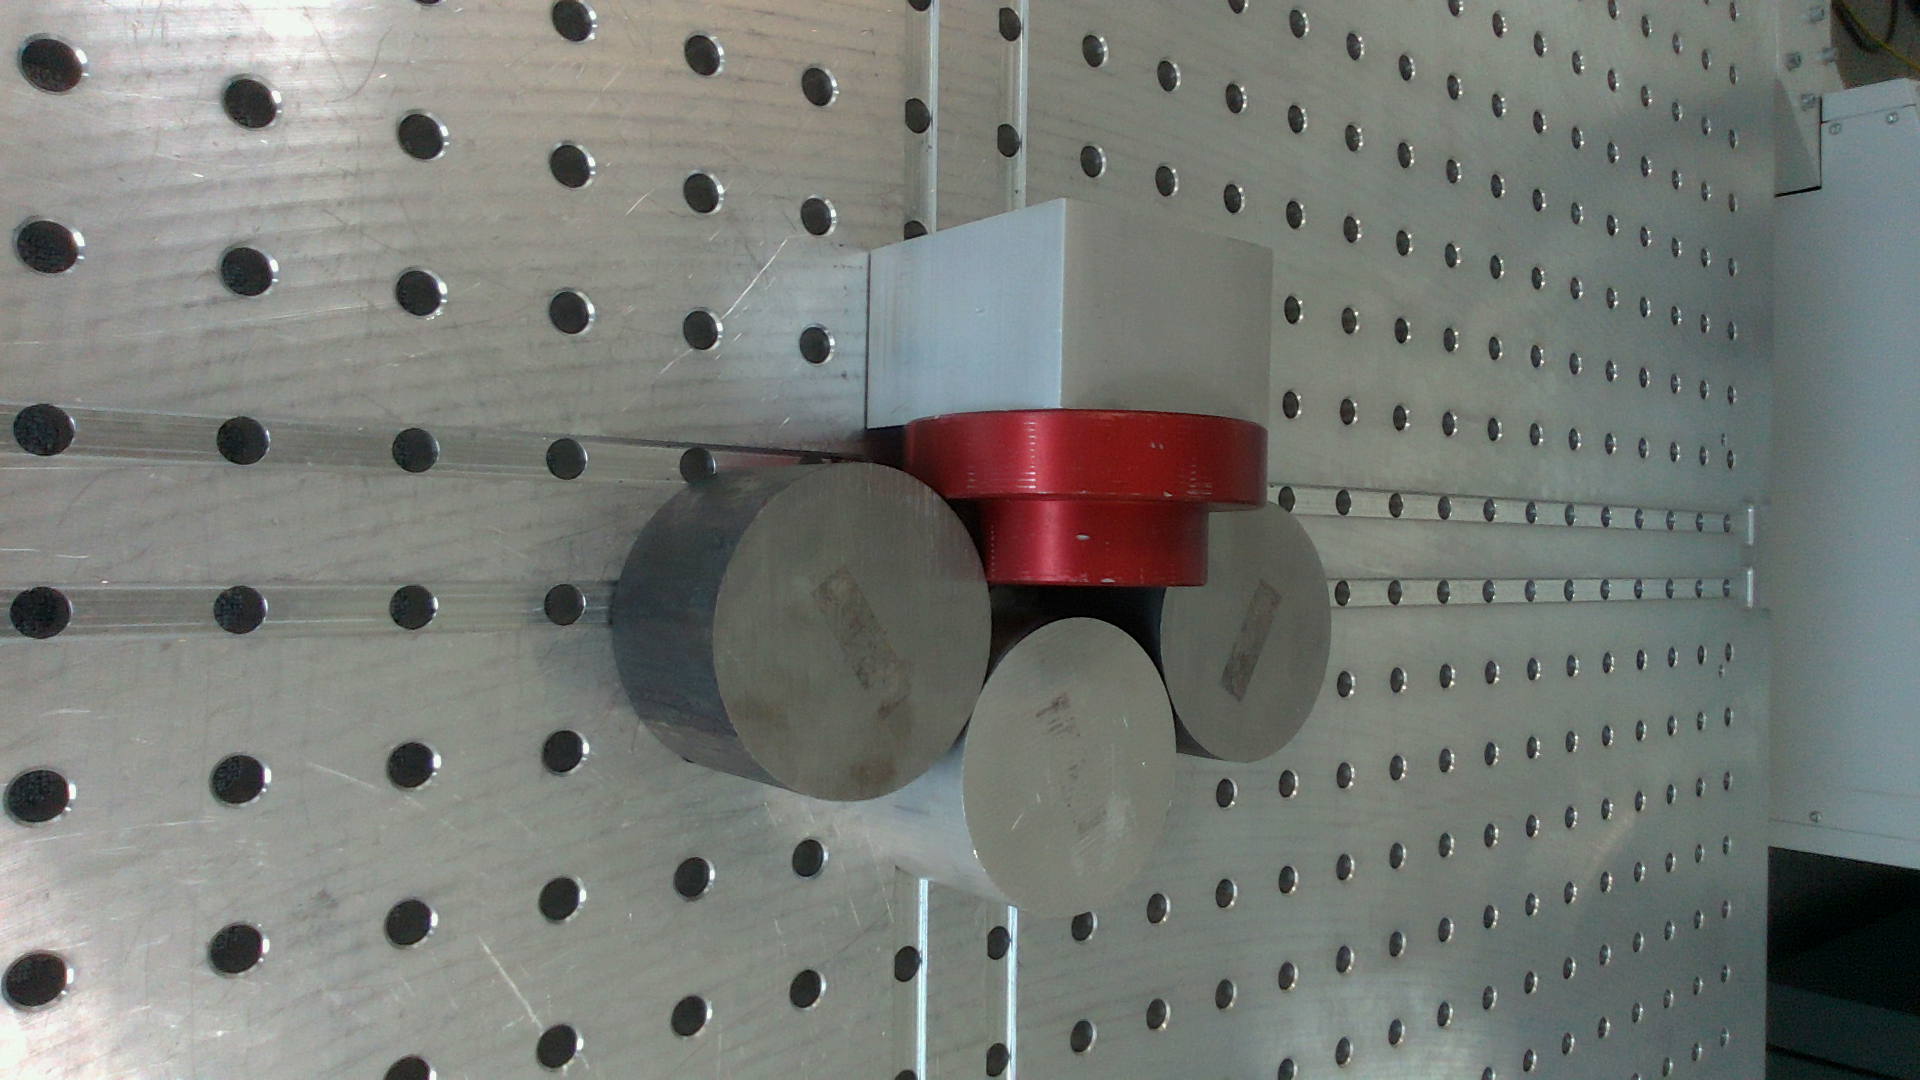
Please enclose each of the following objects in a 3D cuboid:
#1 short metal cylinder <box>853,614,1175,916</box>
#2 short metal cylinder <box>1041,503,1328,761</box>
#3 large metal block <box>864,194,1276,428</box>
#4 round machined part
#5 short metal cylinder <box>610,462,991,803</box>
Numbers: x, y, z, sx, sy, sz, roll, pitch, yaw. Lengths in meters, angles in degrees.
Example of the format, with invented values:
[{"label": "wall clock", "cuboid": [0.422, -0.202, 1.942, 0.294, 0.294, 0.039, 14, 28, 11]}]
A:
[{"label": "short metal cylinder", "cuboid": [0.015, 0.060, 0.388, 0.080, 0.050, 0.080, 0, 90, -40]}, {"label": "short metal cylinder", "cuboid": [0.072, 0.027, 0.436, 0.080, 0.050, 0.080, 0, 90, -40]}, {"label": "large metal block", "cuboid": [0.030, -0.056, 0.380, 0.080, 0.080, 0.050, 1, 89, -40]}, {"label": "round machined part", "cuboid": [0.034, -0.009, 0.370, 0.098, 0.098, 0.042, 2, 88, -40]}, {"label": "short metal cylinder", "cuboid": [-0.039, 0.022, 0.343, 0.080, 0.050, 0.080, 0, 90, -40]}]
